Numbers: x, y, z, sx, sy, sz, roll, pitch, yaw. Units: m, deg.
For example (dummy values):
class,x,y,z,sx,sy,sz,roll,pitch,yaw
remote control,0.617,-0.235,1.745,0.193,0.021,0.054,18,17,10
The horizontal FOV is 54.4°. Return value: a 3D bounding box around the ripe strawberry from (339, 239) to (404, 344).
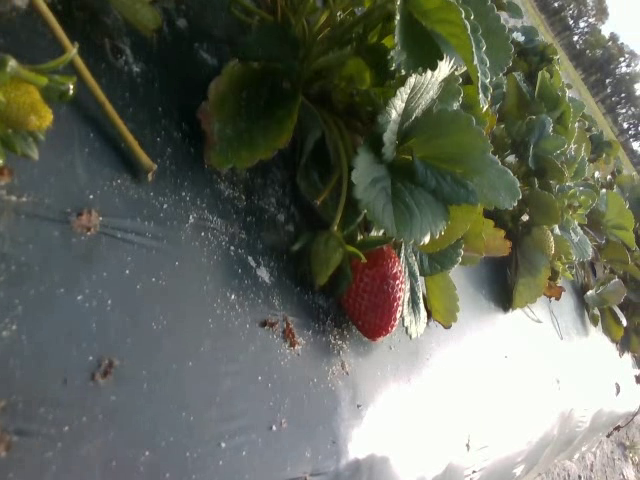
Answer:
class,x,y,z,sx,sy,sz,roll,pitch,yaw
ripe strawberry,0.019,0.019,0.198,0.021,0.036,0.029,-21,-24,38
